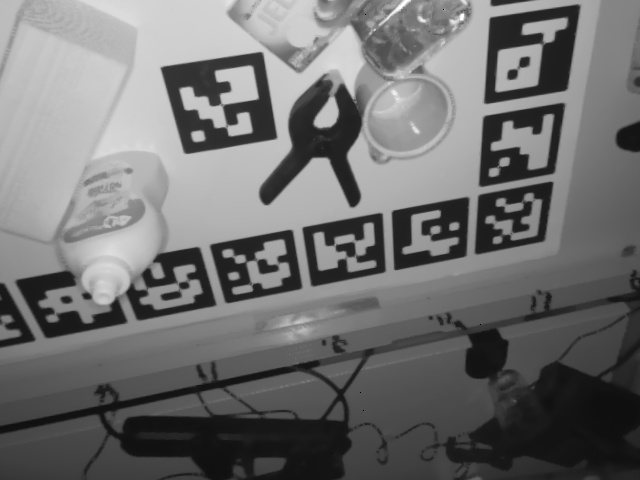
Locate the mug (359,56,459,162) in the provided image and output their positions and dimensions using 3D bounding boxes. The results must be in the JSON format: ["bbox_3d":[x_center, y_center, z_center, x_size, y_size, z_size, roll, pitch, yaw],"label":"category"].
[{"bbox_3d":[0.083,-0.138,0.724,0.094,0.082,0.115,9,122,-18],"label":"mug"}]

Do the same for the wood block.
[{"bbox_3d":[-0.252,-0.115,0.636,0.091,0.091,0.203,21,121,-27],"label":"wood block"}]

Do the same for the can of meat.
[{"bbox_3d":[0.089,-0.207,0.637,0.101,0.084,0.058,-34,124,14],"label":"can of meat"}]

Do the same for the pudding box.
[{"bbox_3d":[-0.014,-0.224,0.637,0.090,0.039,0.112,35,114,-31],"label":"pudding box"}]

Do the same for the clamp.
[{"bbox_3d":[0.005,-0.096,0.744,0.123,0.037,0.163,6,123,-15],"label":"clamp"}]

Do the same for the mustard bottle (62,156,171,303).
[{"bbox_3d":[-0.192,-0.008,0.659,0.096,0.192,0.058,-14,127,-2],"label":"mustard bottle"}]
